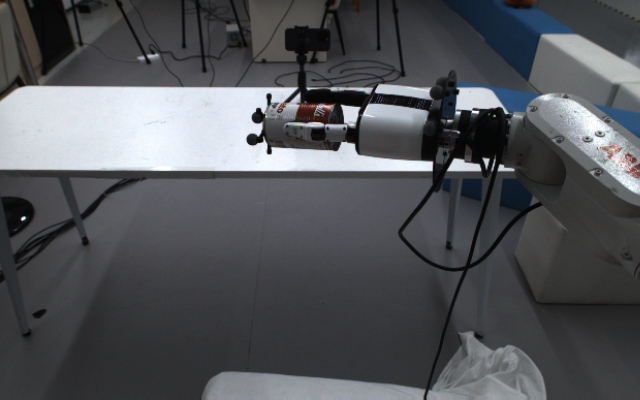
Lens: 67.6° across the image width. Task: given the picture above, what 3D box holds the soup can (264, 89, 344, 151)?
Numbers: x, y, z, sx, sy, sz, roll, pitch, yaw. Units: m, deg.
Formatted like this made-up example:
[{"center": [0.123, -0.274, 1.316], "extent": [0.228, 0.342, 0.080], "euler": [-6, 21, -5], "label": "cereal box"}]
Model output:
[{"center": [-0.022, -0.107, 0.701], "extent": [0.101, 0.067, 0.067], "euler": [5, 34, 18], "label": "soup can"}]
